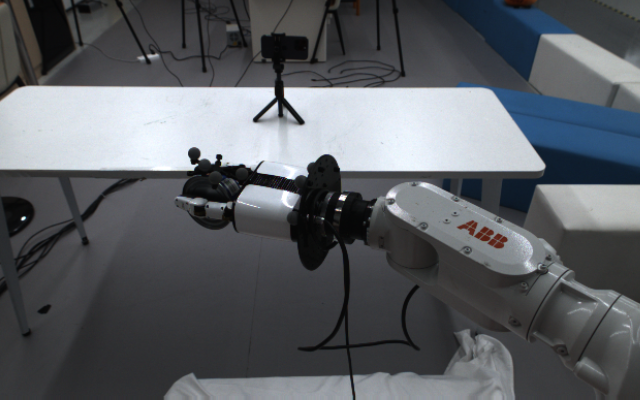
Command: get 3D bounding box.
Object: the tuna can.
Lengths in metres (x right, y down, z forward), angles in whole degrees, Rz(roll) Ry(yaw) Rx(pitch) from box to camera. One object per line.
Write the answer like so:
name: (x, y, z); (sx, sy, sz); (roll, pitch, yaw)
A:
tuna can: (-0.153, -0.002, 0.704); (0.085, 0.085, 0.034); (16, 29, 19)
